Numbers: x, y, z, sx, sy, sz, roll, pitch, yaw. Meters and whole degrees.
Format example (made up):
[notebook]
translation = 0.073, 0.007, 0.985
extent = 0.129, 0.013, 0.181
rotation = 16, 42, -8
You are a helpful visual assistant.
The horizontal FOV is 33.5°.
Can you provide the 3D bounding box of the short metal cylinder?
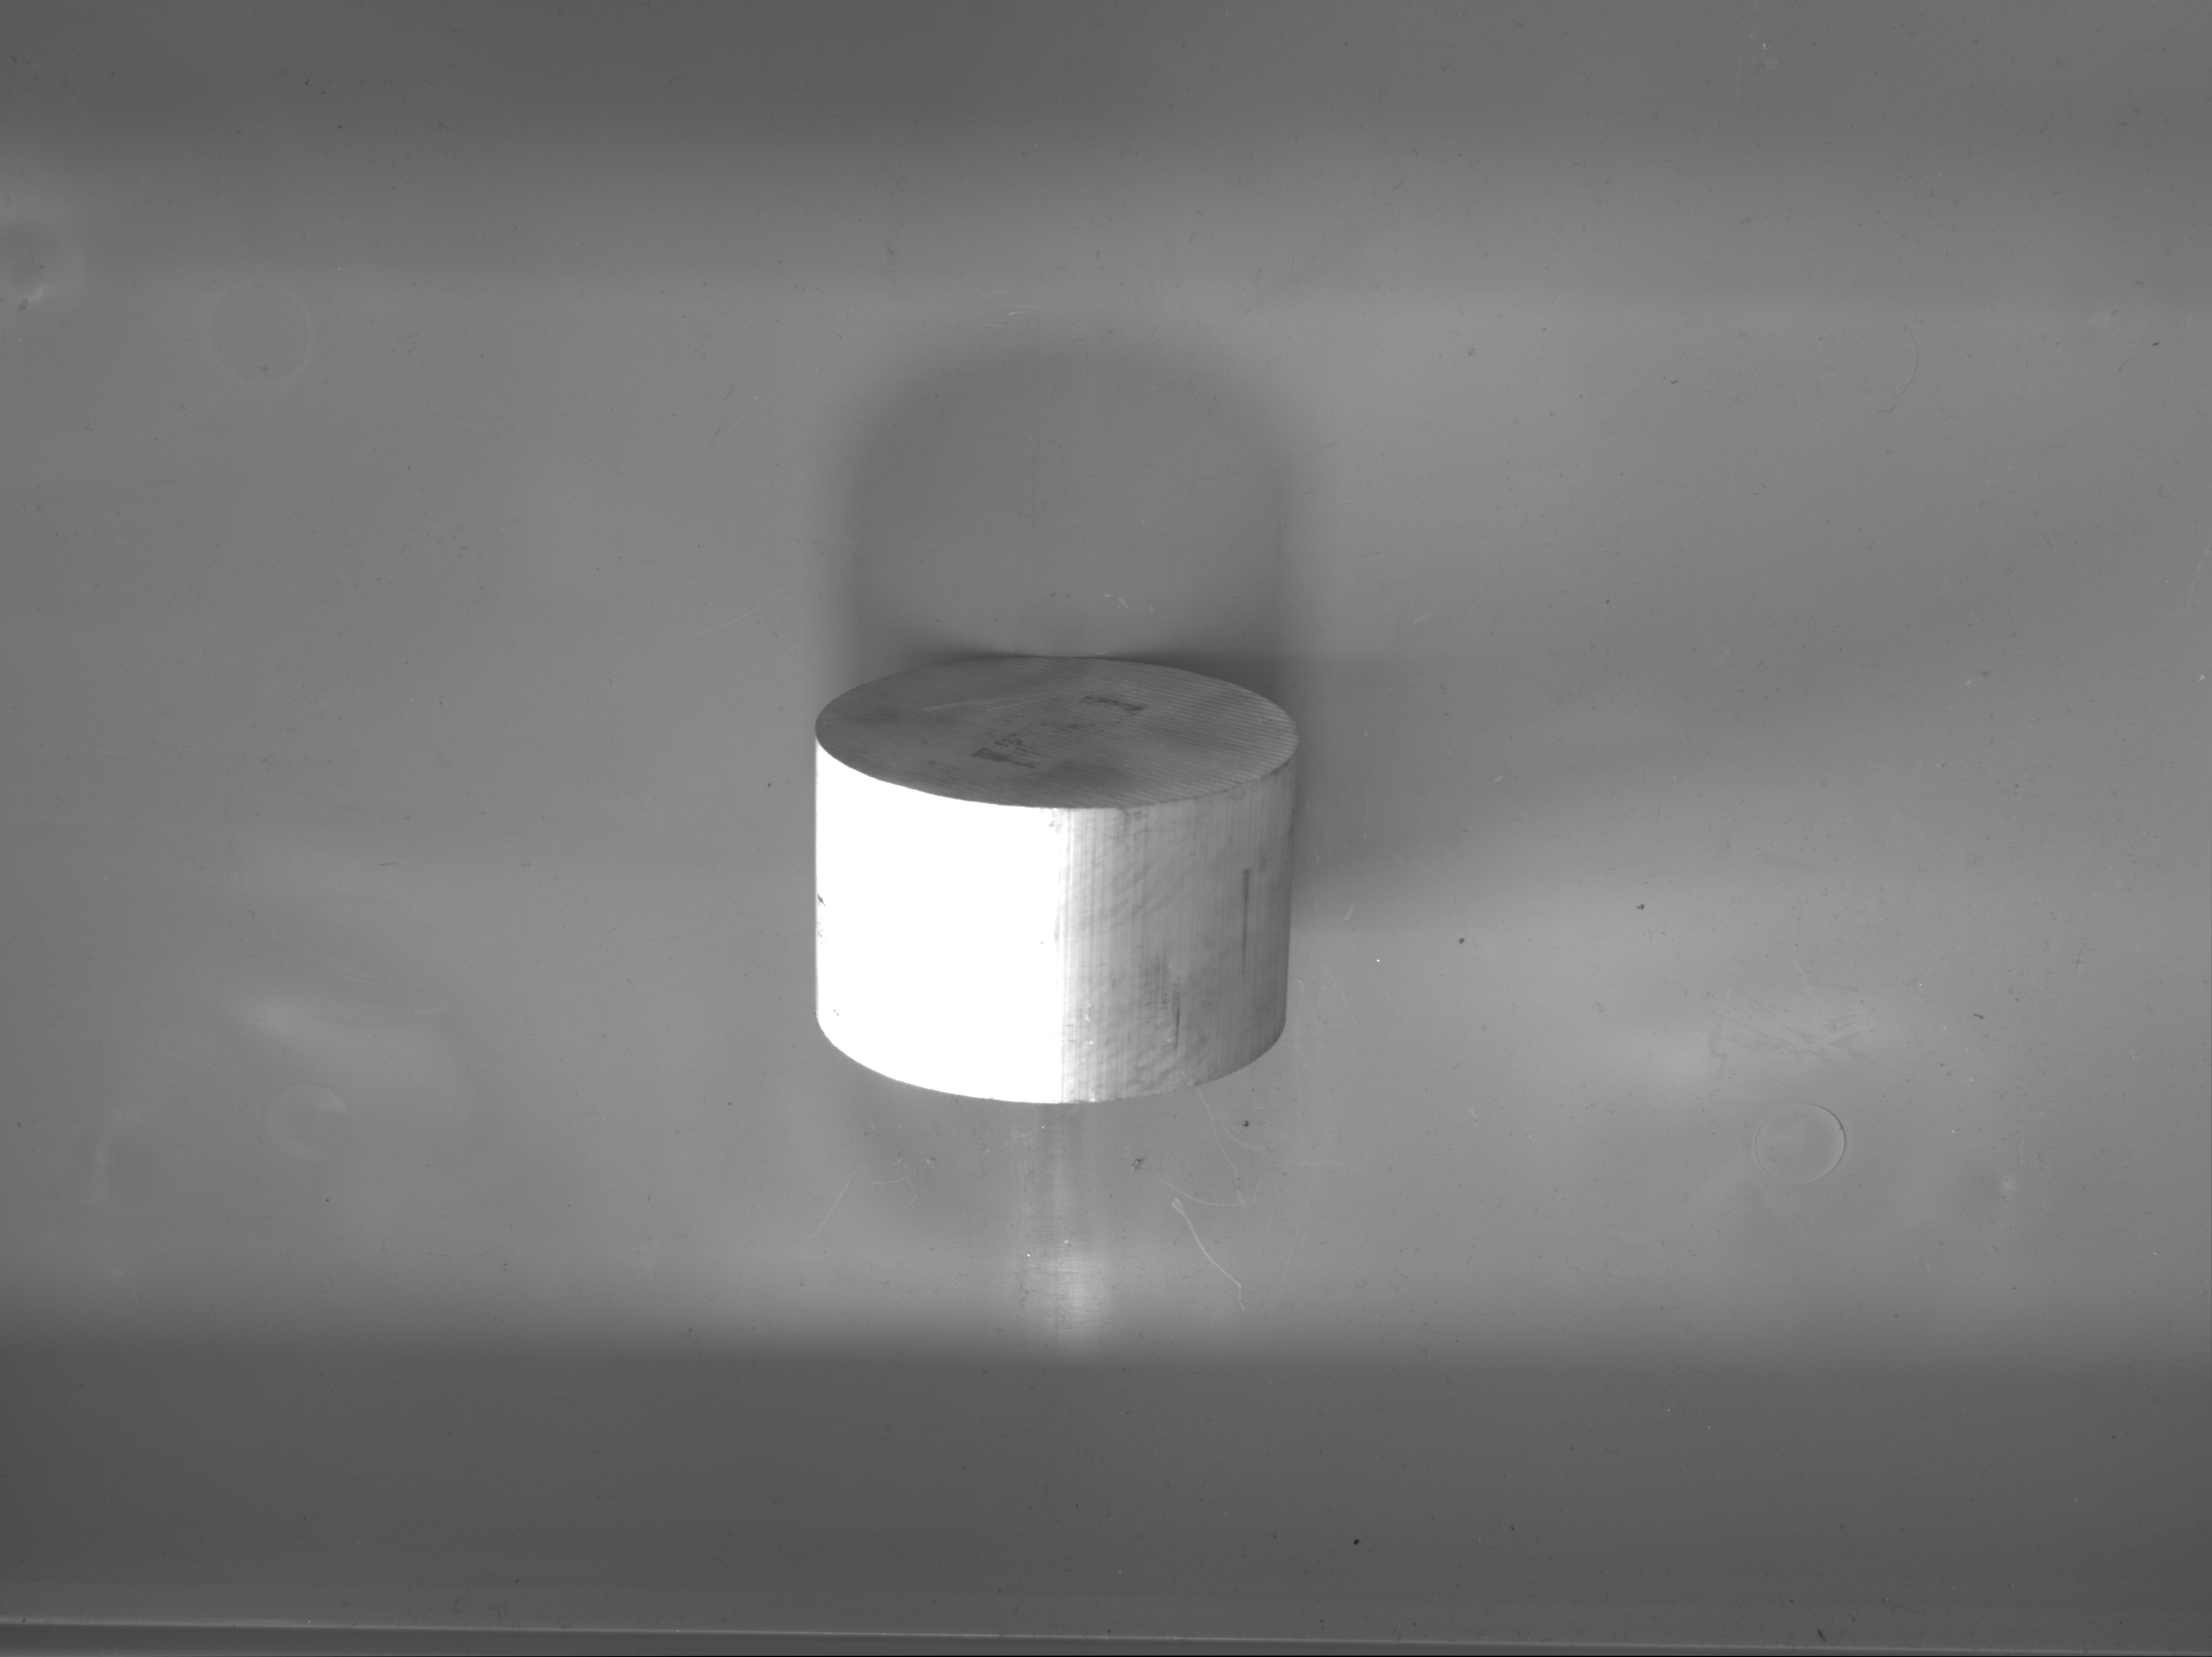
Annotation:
[short metal cylinder]
translation = -0.009, 0.007, 0.615
extent = 0.080, 0.080, 0.050
rotation = 2, 110, -1
